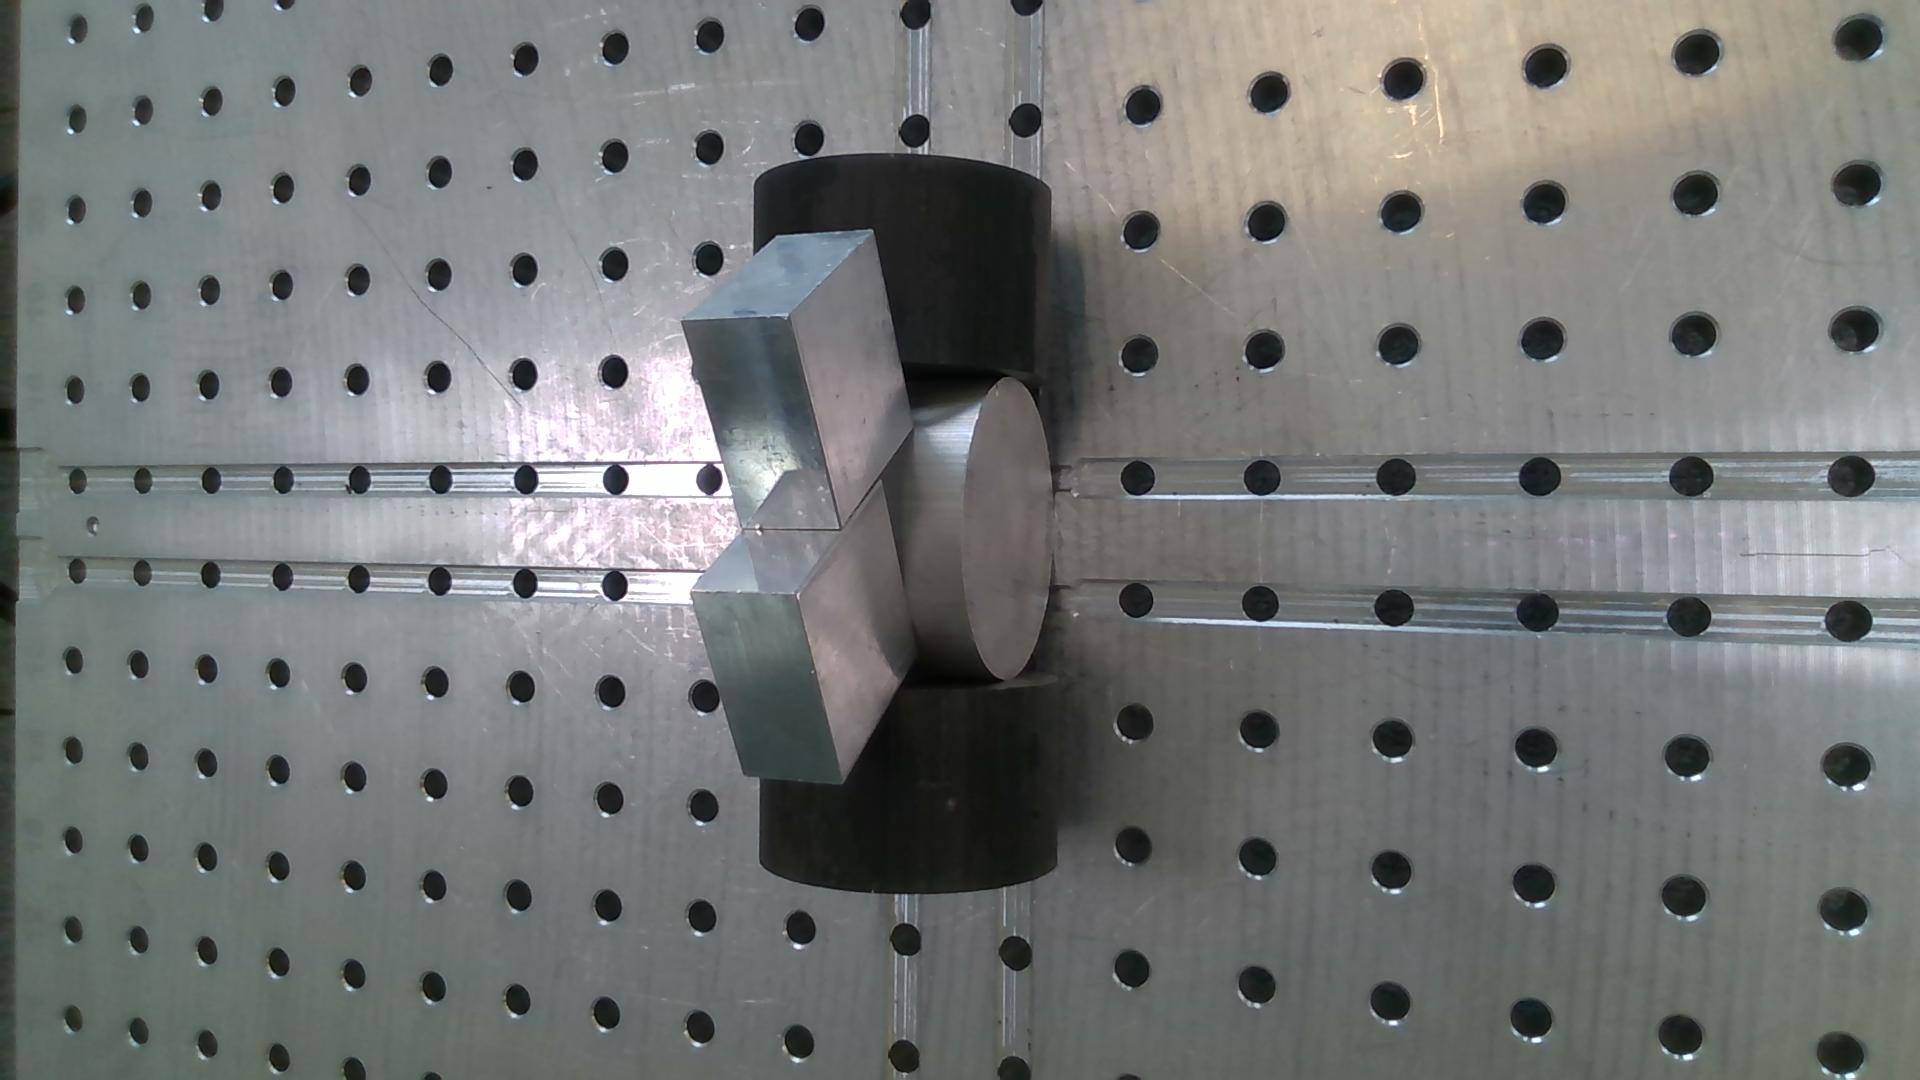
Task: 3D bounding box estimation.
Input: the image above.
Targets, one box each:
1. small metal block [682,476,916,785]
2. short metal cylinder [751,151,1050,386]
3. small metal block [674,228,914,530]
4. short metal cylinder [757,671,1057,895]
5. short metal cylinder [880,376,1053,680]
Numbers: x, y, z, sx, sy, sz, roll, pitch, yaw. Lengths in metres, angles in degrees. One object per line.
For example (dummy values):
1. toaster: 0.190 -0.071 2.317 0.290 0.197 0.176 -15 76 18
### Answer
1. small metal block: -0.034 0.019 0.314 0.025 0.050 0.050 1 121 20
2. short metal cylinder: -0.016 -0.069 0.372 0.080 0.080 0.050 1 90 20
3. small metal block: -0.035 -0.037 0.309 0.025 0.050 0.050 1 122 20
4. short metal cylinder: -0.014 0.061 0.372 0.080 0.080 0.050 1 89 20
5. short metal cylinder: -0.010 -0.004 0.371 0.050 0.080 0.080 1 91 20
